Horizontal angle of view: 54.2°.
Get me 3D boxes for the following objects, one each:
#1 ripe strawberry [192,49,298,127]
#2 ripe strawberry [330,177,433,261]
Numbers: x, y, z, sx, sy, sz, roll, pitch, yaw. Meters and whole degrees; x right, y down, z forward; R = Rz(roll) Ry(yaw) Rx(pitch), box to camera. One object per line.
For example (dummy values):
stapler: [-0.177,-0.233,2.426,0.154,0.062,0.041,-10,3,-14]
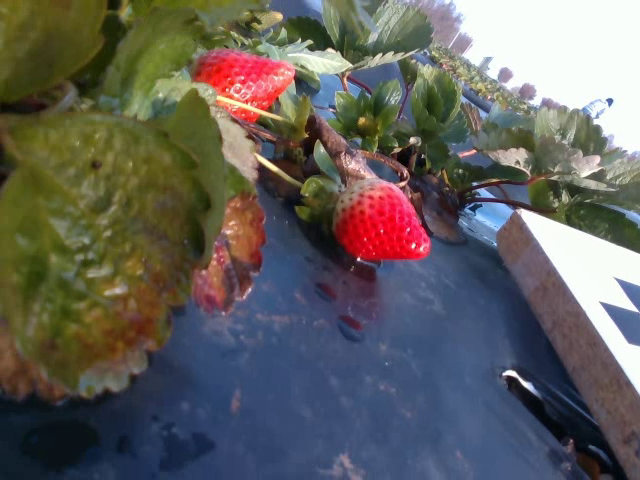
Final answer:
ripe strawberry: [-0.033,-0.069,0.255,0.048,0.040,0.032,-23,-41,-4]
ripe strawberry: [0.023,-0.006,0.221,0.043,0.030,0.035,43,31,24]
